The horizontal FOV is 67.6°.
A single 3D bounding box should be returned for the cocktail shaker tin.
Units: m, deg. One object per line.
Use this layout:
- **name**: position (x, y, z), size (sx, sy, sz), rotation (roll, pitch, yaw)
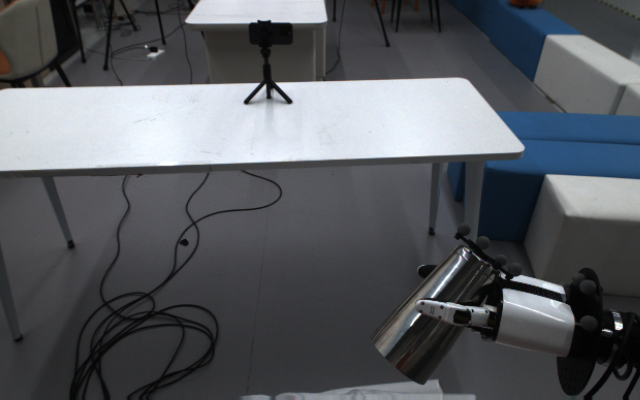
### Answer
- **cocktail shaker tin**: position (0.157, 0.141, 0.638), size (0.170, 0.093, 0.093), rotation (-50, 47, 3)
